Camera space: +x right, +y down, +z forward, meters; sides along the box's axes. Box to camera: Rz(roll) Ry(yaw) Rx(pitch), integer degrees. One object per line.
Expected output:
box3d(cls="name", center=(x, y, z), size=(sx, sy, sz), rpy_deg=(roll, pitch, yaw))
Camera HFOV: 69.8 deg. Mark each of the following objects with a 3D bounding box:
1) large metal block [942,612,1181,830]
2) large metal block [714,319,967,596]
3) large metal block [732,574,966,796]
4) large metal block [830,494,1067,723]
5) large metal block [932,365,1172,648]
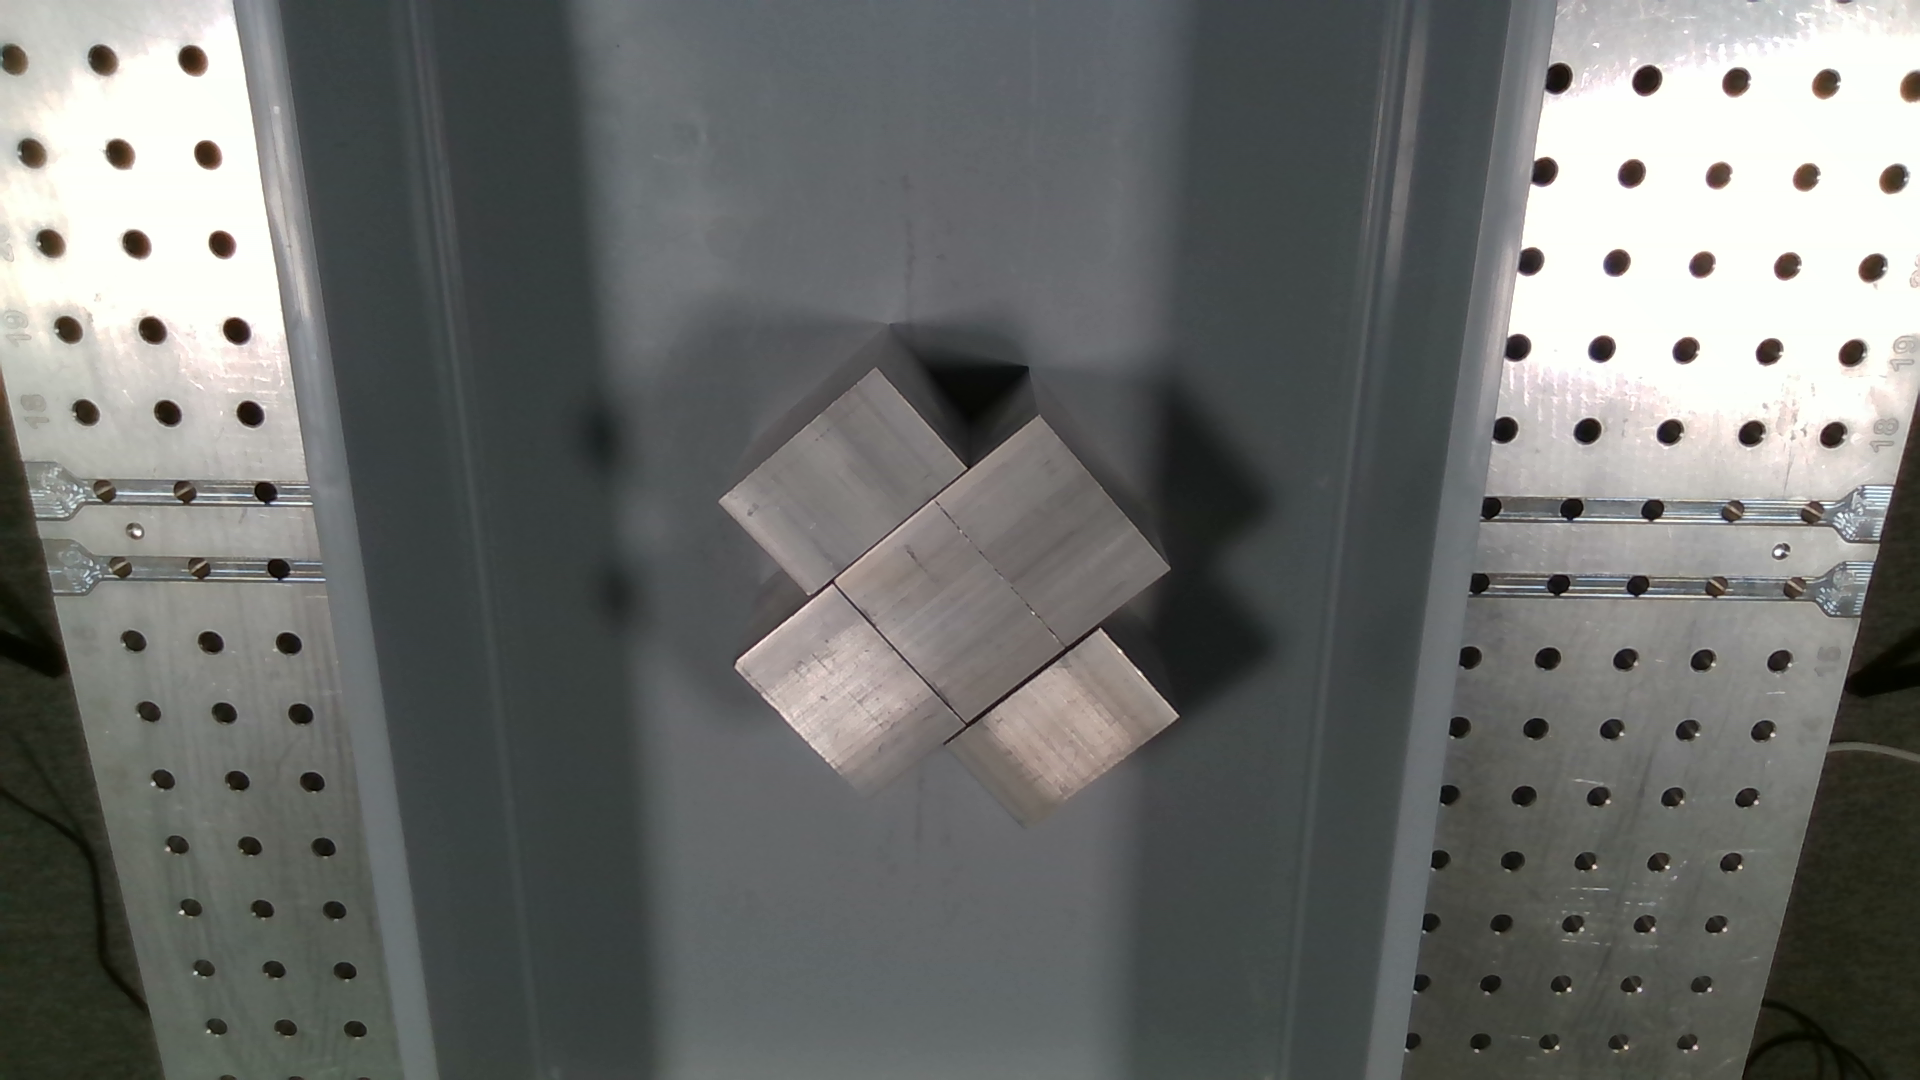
box3d(cls="large metal block", center=(0.040, 0.061, 0.578), size=(0.080, 0.080, 0.050), rpy_deg=(-39, 105, 13))
box3d(cls="large metal block", center=(-0.044, -0.035, 0.542), size=(0.080, 0.080, 0.050), rpy_deg=(-39, 105, 13))
box3d(cls="large metal block", center=(-0.043, 0.045, 0.572), size=(0.050, 0.080, 0.080), rpy_deg=(-38, 106, 13))
box3d(cls="large metal block", center=(-0.004, 0.014, 0.560), size=(0.050, 0.080, 0.080), rpy_deg=(-38, 106, 13))
box3d(cls="large metal block", center=(0.035, -0.016, 0.548), size=(0.050, 0.080, 0.080), rpy_deg=(-38, 106, 13))
